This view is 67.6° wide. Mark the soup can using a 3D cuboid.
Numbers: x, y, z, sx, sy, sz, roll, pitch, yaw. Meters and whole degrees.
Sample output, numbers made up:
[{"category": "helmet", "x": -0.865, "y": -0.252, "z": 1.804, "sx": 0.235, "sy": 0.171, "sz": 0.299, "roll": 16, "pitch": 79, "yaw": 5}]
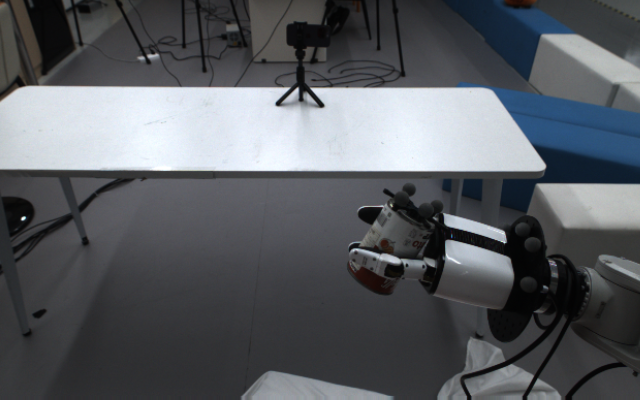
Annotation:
[{"category": "soup can", "x": 0.088, "y": 0.057, "z": 0.597, "sx": 0.067, "sy": 0.101, "sz": 0.067, "roll": 27, "pitch": 18, "yaw": -9}]
